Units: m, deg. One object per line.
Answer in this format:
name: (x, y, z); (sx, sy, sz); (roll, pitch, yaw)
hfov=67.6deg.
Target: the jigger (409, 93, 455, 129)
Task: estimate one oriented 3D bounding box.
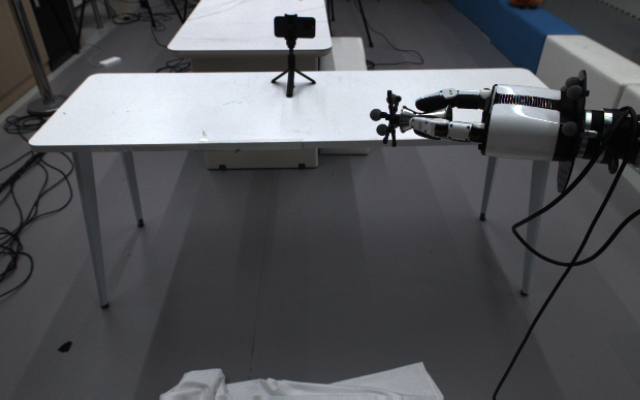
jigger: (0.160, -0.123, 0.704); (0.071, 0.043, 0.043); (4, 32, 27)
